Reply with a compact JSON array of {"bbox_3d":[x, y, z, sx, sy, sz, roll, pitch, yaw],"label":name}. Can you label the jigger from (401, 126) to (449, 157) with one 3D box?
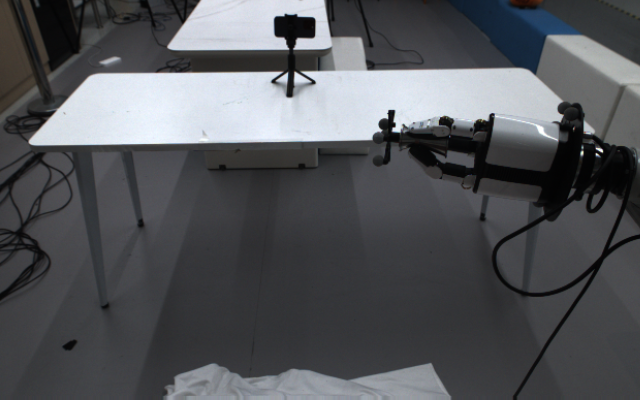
[{"bbox_3d":[0.157,-0.092,0.696,0.071,0.043,0.043,8,35,14],"label":"jigger"}]
